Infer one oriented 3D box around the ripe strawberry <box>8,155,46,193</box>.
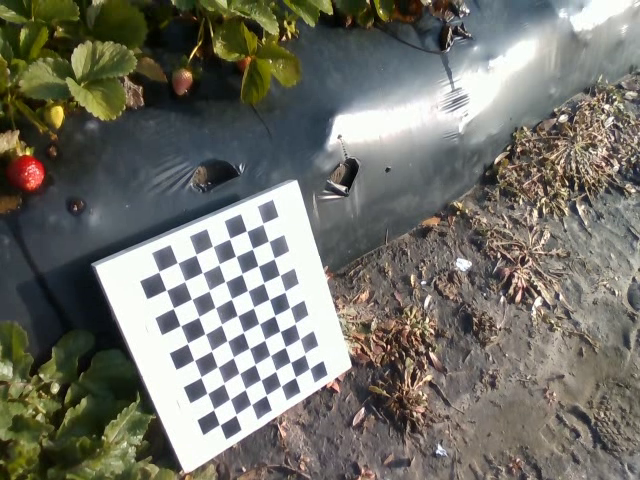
[{"bbox_3d":[-0.278,-0.057,0.654,0.046,0.054,0.037,-2,-40,-34],"label":"ripe strawberry"}]
